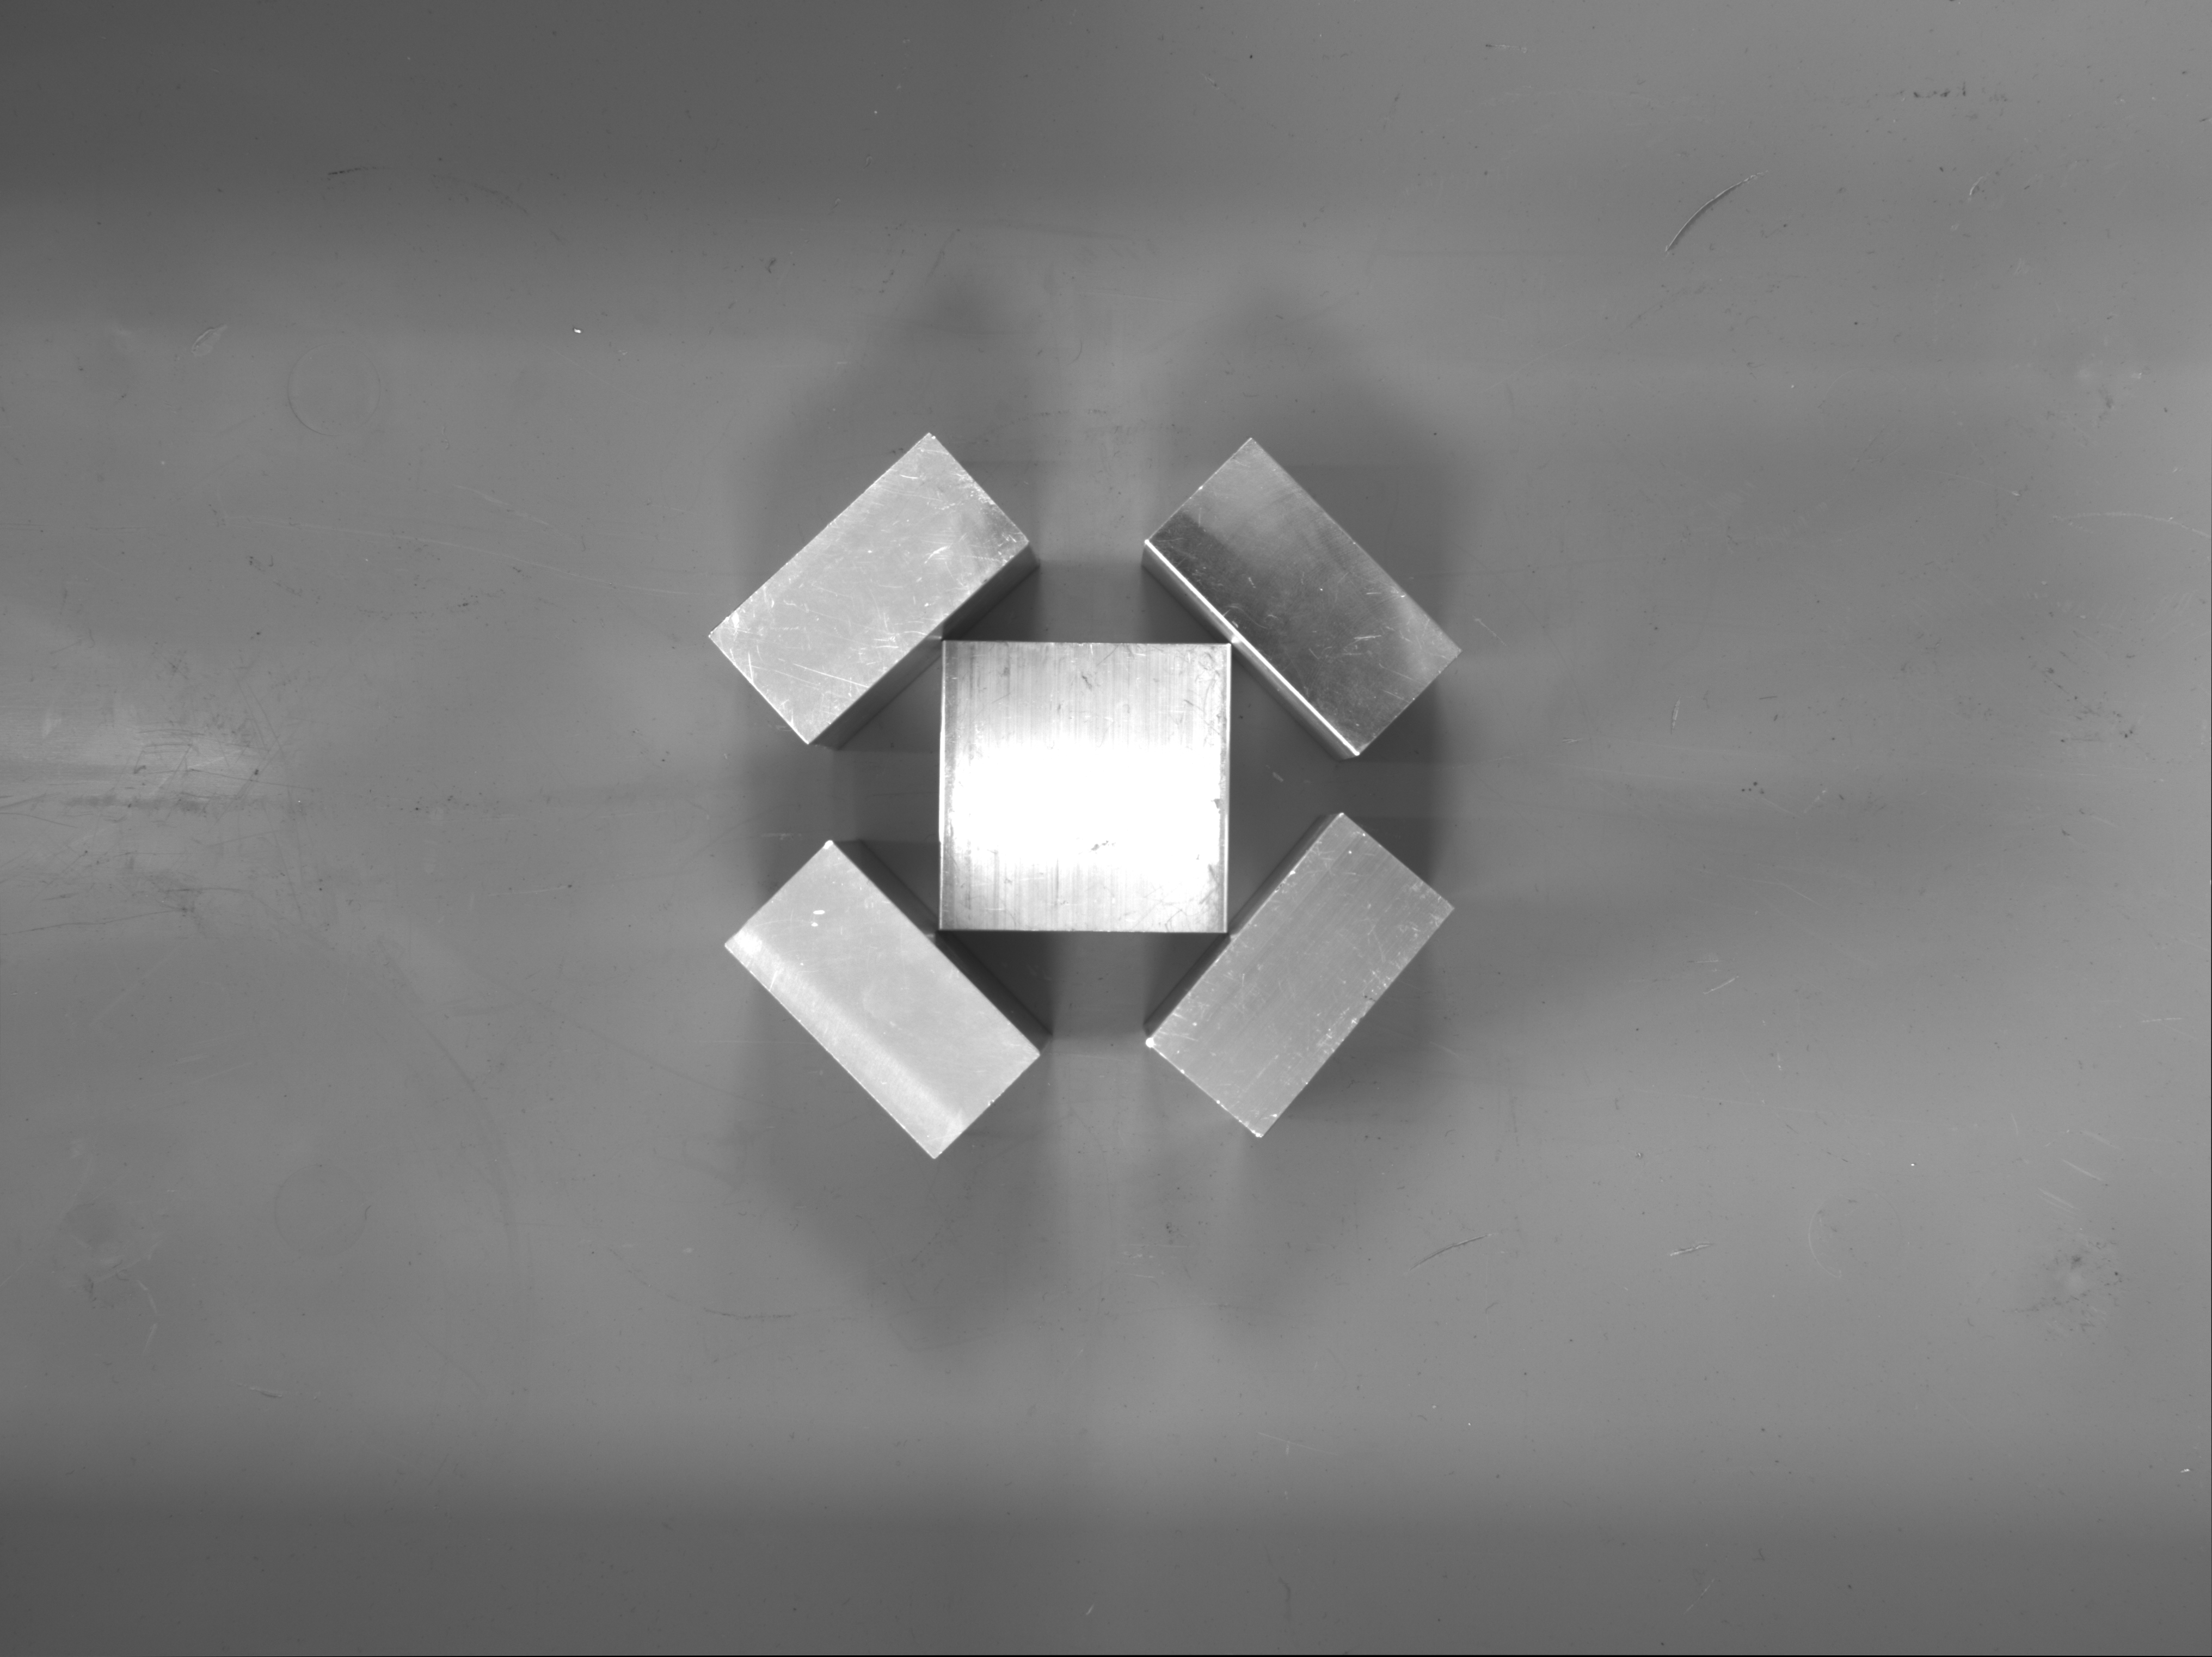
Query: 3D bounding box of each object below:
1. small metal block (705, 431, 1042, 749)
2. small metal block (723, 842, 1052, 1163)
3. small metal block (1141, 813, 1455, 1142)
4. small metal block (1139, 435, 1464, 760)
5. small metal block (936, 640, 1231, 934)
[{"bbox_3d":[-0.039,-0.040,0.631,0.050,0.050,0.025,-42,89,1],"label":"small metal block"},{"bbox_3d":[-0.036,0.029,0.631,0.025,0.050,0.050,-45,90,1],"label":"small metal block"},{"bbox_3d":[0.032,0.025,0.631,0.025,0.050,0.050,40,89,-1],"label":"small metal block"},{"bbox_3d":[0.032,-0.038,0.631,0.025,0.050,0.050,-45,91,-1],"label":"small metal block"},{"bbox_3d":[-0.004,-0.007,0.644,0.050,0.025,0.050,1,90,0],"label":"small metal block"}]
